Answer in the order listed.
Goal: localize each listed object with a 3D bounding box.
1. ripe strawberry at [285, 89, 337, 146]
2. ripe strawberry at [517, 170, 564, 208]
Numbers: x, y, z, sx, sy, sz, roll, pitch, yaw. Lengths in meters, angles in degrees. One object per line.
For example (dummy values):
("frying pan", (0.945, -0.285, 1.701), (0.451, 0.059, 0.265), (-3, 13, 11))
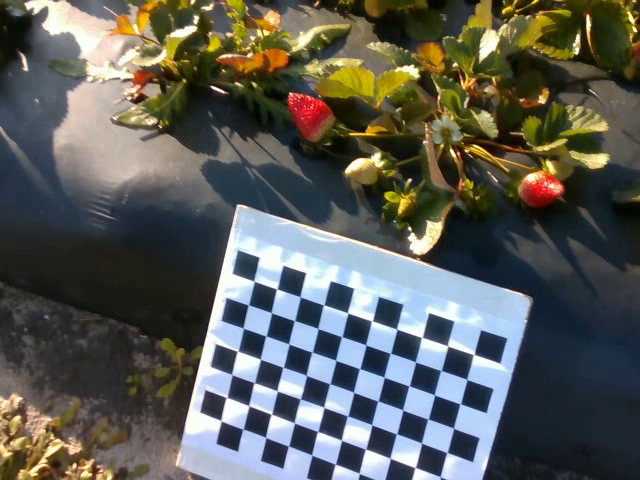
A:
("ripe strawberry", (-0.008, -0.111, 0.515), (0.053, 0.044, 0.036), (42, 10, -4))
("ripe strawberry", (0.186, -0.043, 0.478), (0.042, 0.037, 0.045), (-4, 4, -19))
